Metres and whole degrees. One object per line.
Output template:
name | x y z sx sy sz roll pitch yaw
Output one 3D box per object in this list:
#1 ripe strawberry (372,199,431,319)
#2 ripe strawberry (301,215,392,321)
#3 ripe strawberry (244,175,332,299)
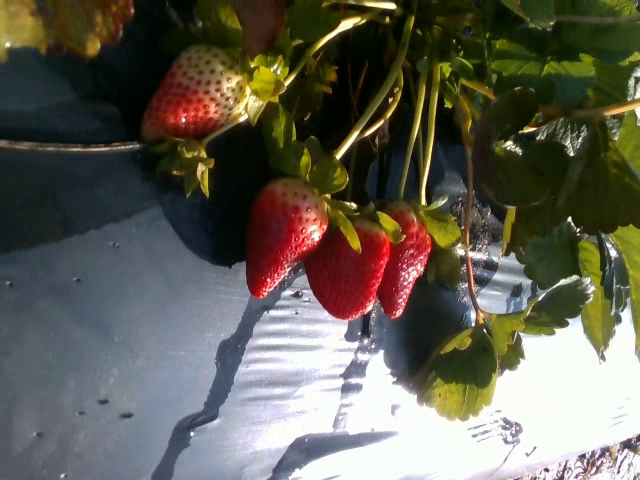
ripe strawberry | 0.030 0.014 0.240 0.035 0.041 0.033 12 -18 -41
ripe strawberry | 0.011 0.011 0.218 0.036 0.039 0.030 -23 -33 29
ripe strawberry | -0.012 0.001 0.203 0.031 0.046 0.023 16 15 -43
